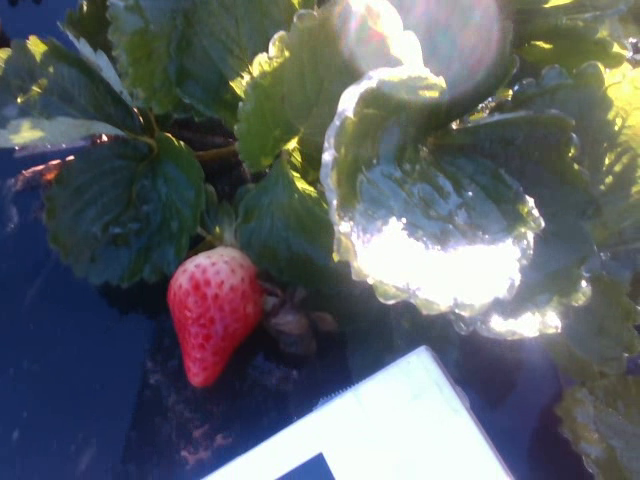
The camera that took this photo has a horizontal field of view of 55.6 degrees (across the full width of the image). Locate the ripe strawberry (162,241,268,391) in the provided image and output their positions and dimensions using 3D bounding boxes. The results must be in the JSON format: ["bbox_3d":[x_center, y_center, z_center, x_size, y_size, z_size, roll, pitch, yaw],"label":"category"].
[{"bbox_3d":[-0.051,0.032,0.246,0.040,0.065,0.040,7,-12,17],"label":"ripe strawberry"}]
